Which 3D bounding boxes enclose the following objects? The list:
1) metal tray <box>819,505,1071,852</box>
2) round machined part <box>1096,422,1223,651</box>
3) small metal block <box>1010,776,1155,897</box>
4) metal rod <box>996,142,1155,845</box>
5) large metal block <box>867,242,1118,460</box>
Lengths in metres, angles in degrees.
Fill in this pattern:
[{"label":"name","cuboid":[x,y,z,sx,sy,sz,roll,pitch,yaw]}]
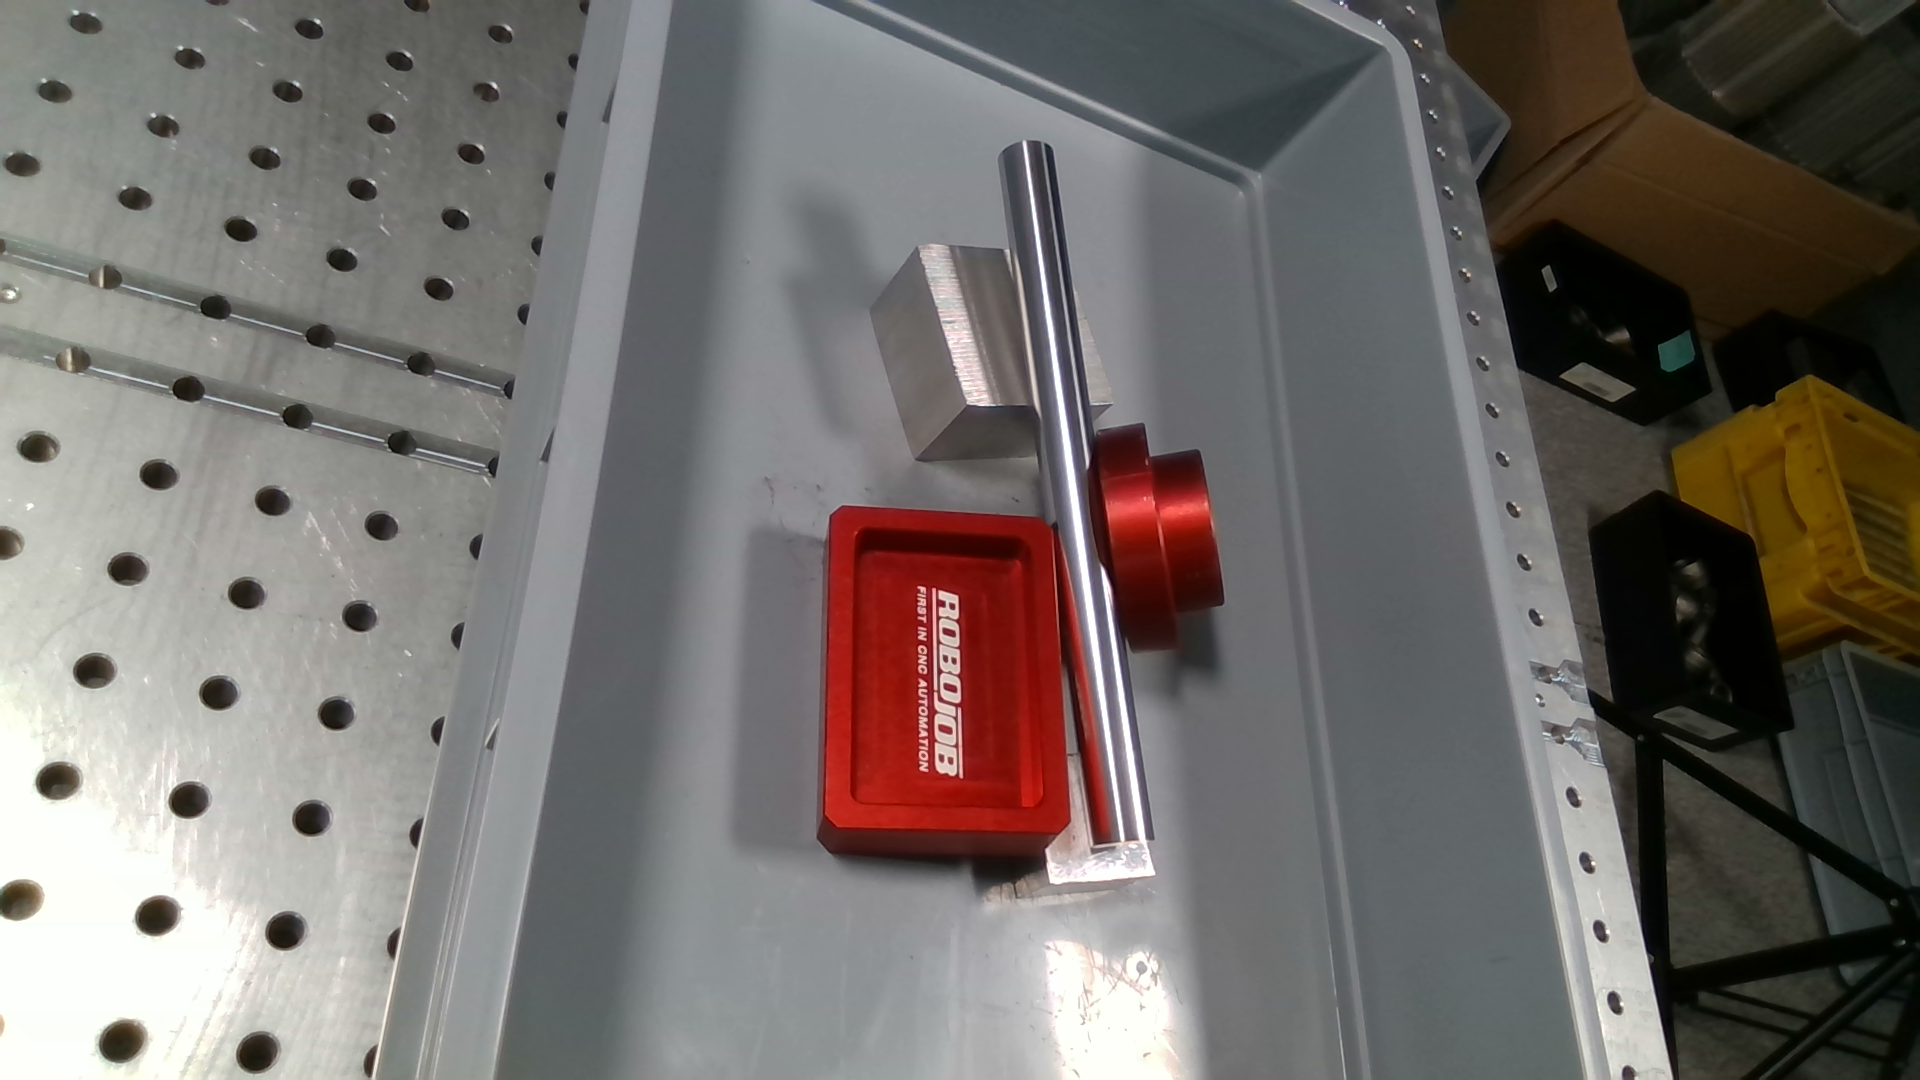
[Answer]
[{"label":"metal tray","cuboid":[-0.008,0.052,0.530,0.090,0.030,0.130,3,63,-9]},{"label":"round machined part","cuboid":[0.087,-0.002,0.590,0.042,0.098,0.098,-9,64,9]},{"label":"small metal block","cuboid":[0.045,0.113,0.551,0.050,0.025,0.050,3,64,-30]},{"label":"metal rod","cuboid":[0.045,-0.027,0.569,0.025,0.025,0.299,3,71,-30]},{"label":"large metal block","cuboid":[0.014,-0.084,0.621,0.080,0.050,0.080,-4,68,-33]}]
